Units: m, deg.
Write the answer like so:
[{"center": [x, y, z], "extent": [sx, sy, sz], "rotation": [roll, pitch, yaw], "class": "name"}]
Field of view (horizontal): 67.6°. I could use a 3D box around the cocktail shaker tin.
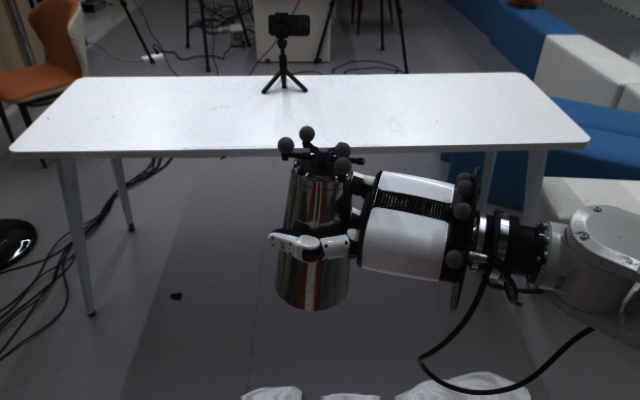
[{"center": [-0.003, 0.034, 0.562], "extent": [0.093, 0.170, 0.093], "rotation": [4, 32, -2], "class": "cocktail shaker tin"}]
